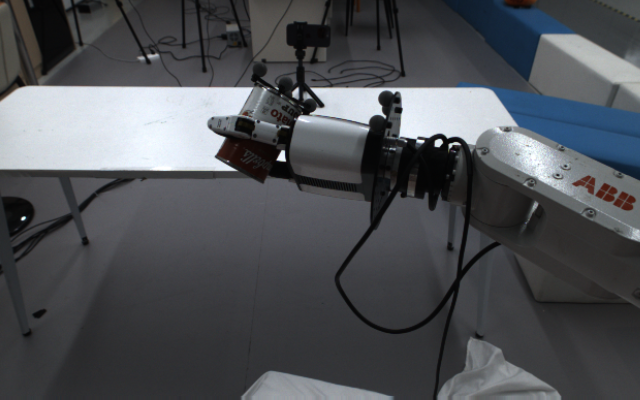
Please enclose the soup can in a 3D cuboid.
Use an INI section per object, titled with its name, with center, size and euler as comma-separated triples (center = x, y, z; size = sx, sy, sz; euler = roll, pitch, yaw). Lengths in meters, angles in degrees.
[soup can]
center = -0.073, -0.079, 0.588
size = 0.067, 0.101, 0.067
euler = 28, -2, 1
